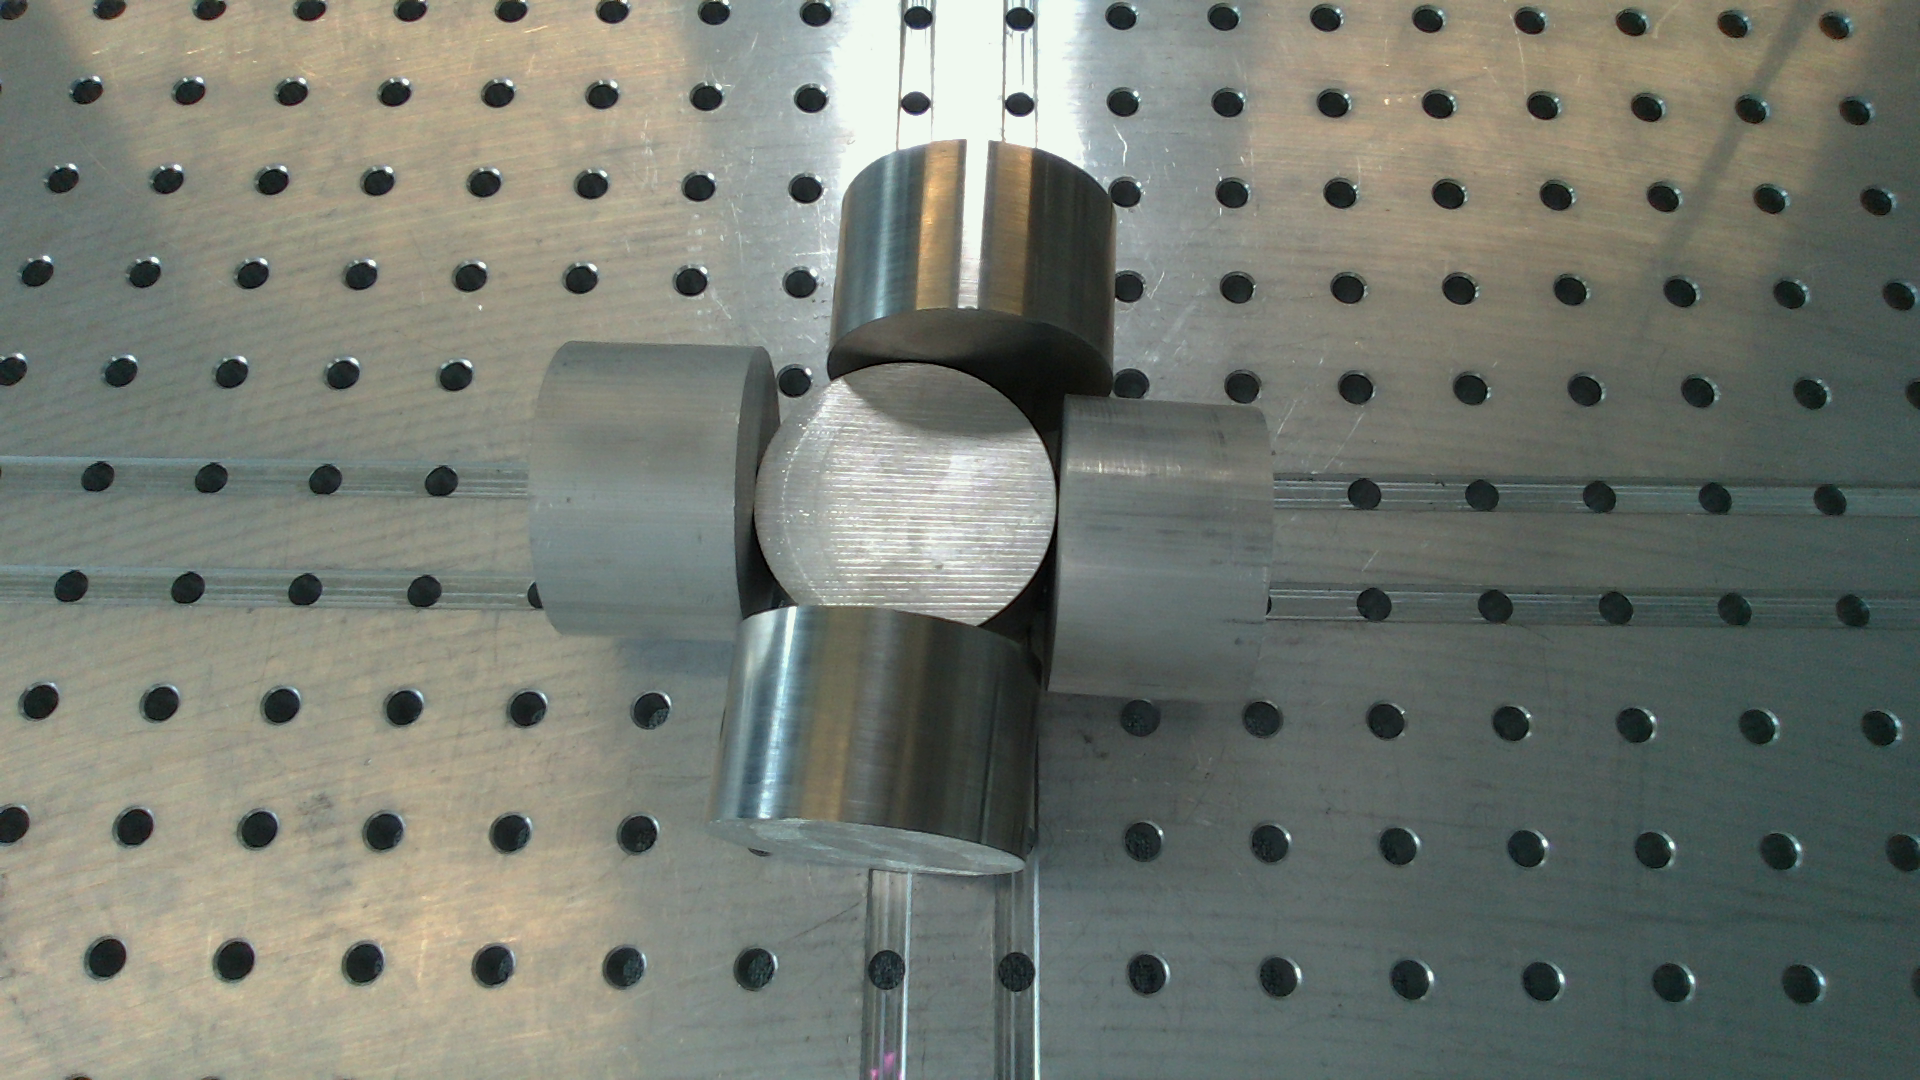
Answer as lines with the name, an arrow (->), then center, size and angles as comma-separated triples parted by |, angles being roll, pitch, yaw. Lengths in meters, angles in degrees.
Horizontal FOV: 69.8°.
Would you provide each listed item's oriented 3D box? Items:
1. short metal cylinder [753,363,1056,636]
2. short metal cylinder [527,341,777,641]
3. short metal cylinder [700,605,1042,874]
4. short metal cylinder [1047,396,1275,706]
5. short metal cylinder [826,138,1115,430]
short metal cylinder -> -0.015, -0.002, 0.385 | 0.080, 0.050, 0.080 | 1, 70, -1
short metal cylinder -> -0.079, -0.013, 0.373 | 0.050, 0.080, 0.080 | 2, 70, 0
short metal cylinder -> -0.021, 0.053, 0.347 | 0.080, 0.080, 0.050 | 6, 70, 2
short metal cylinder -> 0.051, 0.002, 0.368 | 0.050, 0.080, 0.080 | 4, 70, 1
short metal cylinder -> 0.004, -0.069, 0.393 | 0.080, 0.080, 0.050 | 3, 70, 1
